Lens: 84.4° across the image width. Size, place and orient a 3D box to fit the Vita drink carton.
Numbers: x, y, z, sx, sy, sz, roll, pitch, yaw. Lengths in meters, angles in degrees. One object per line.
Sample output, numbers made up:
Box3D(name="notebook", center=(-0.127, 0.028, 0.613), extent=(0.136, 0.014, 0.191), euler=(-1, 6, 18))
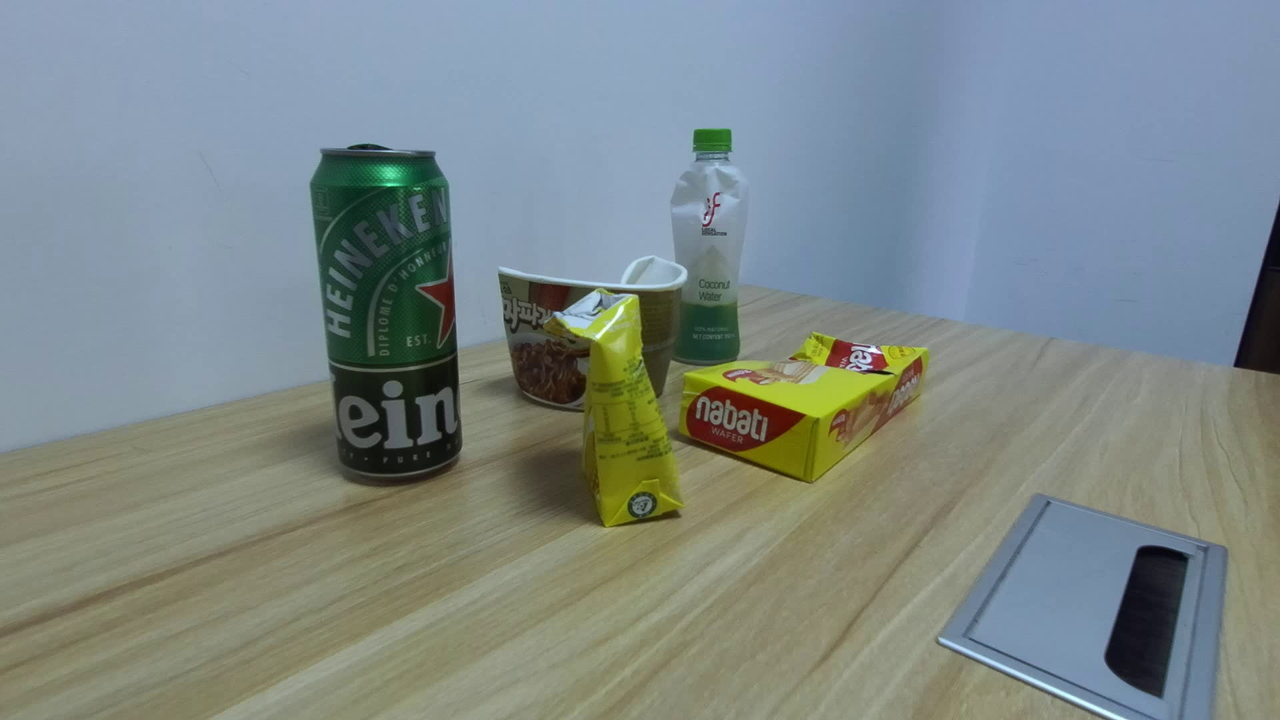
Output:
Box3D(name="Vita drink carton", center=(-0.015, 0.022, 0.352), extent=(0.042, 0.108, 0.087), euler=(-16, 15, -11))

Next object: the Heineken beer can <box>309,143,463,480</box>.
Box3D(name="Heineken beer can", center=(-0.131, -0.023, 0.373), extent=(0.067, 0.169, 0.067), euler=(2, 17, 0))

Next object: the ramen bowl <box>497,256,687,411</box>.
Box3D(name="ramen bowl", center=(-0.034, -0.022, 0.505), extent=(0.137, 0.098, 0.137), euler=(0, 17, 0))

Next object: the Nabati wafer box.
Box3D(name="Nabati wafer box", center=(0.119, 0.019, 0.485), extent=(0.106, 0.042, 0.205), euler=(16, 20, 35))

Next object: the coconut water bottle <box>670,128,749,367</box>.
Box3D(name="coconut water bottle", center=(0.055, -0.093, 0.585), extent=(0.069, 0.186, 0.069), euler=(0, 17, 0))
